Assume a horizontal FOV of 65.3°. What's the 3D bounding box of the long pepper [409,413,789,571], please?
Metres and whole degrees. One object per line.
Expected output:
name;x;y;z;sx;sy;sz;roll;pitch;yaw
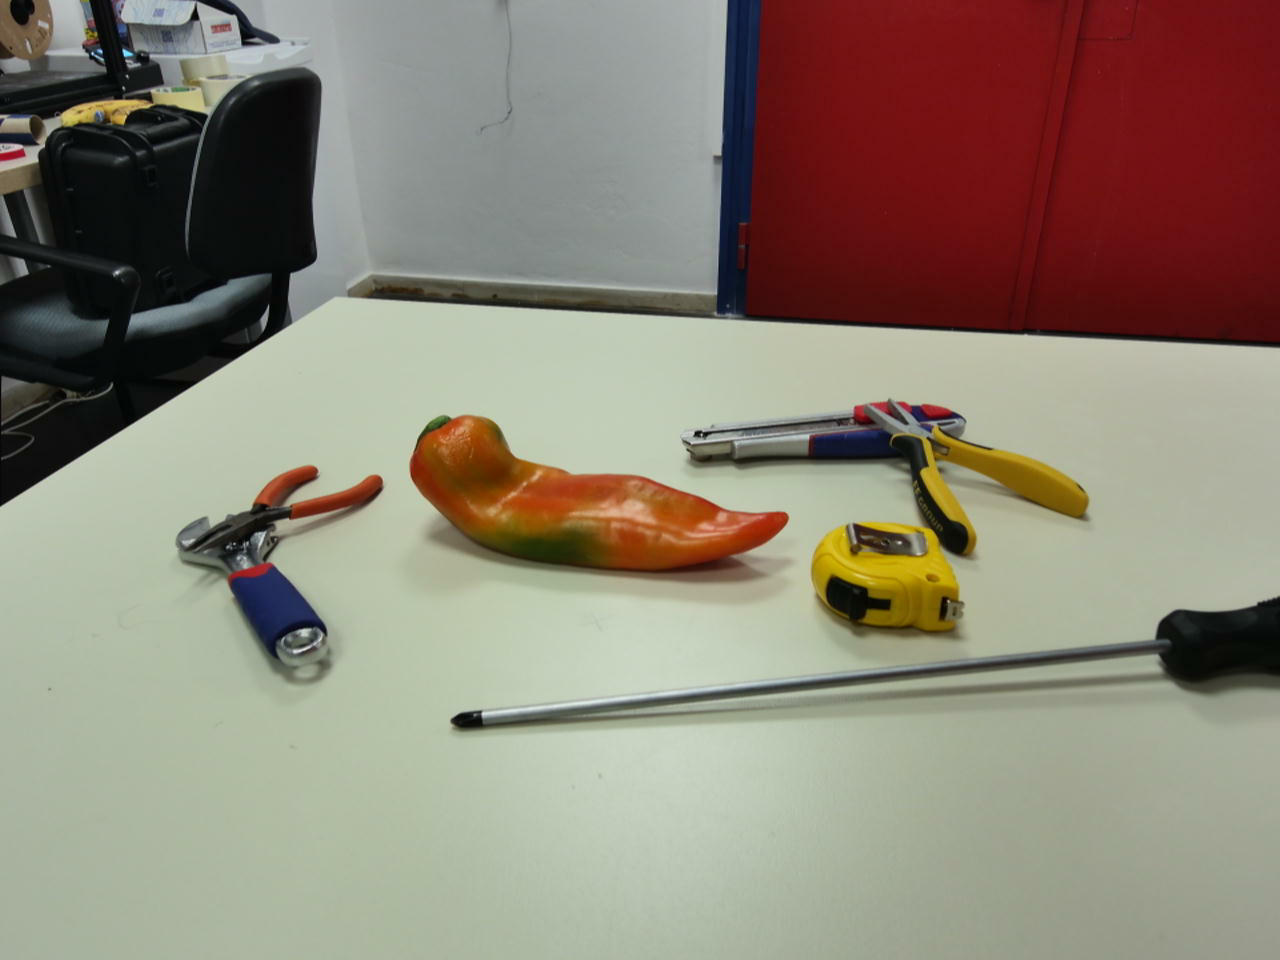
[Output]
long pepper;-0.024;0.005;0.514;0.199;0.065;0.066;7;27;16
